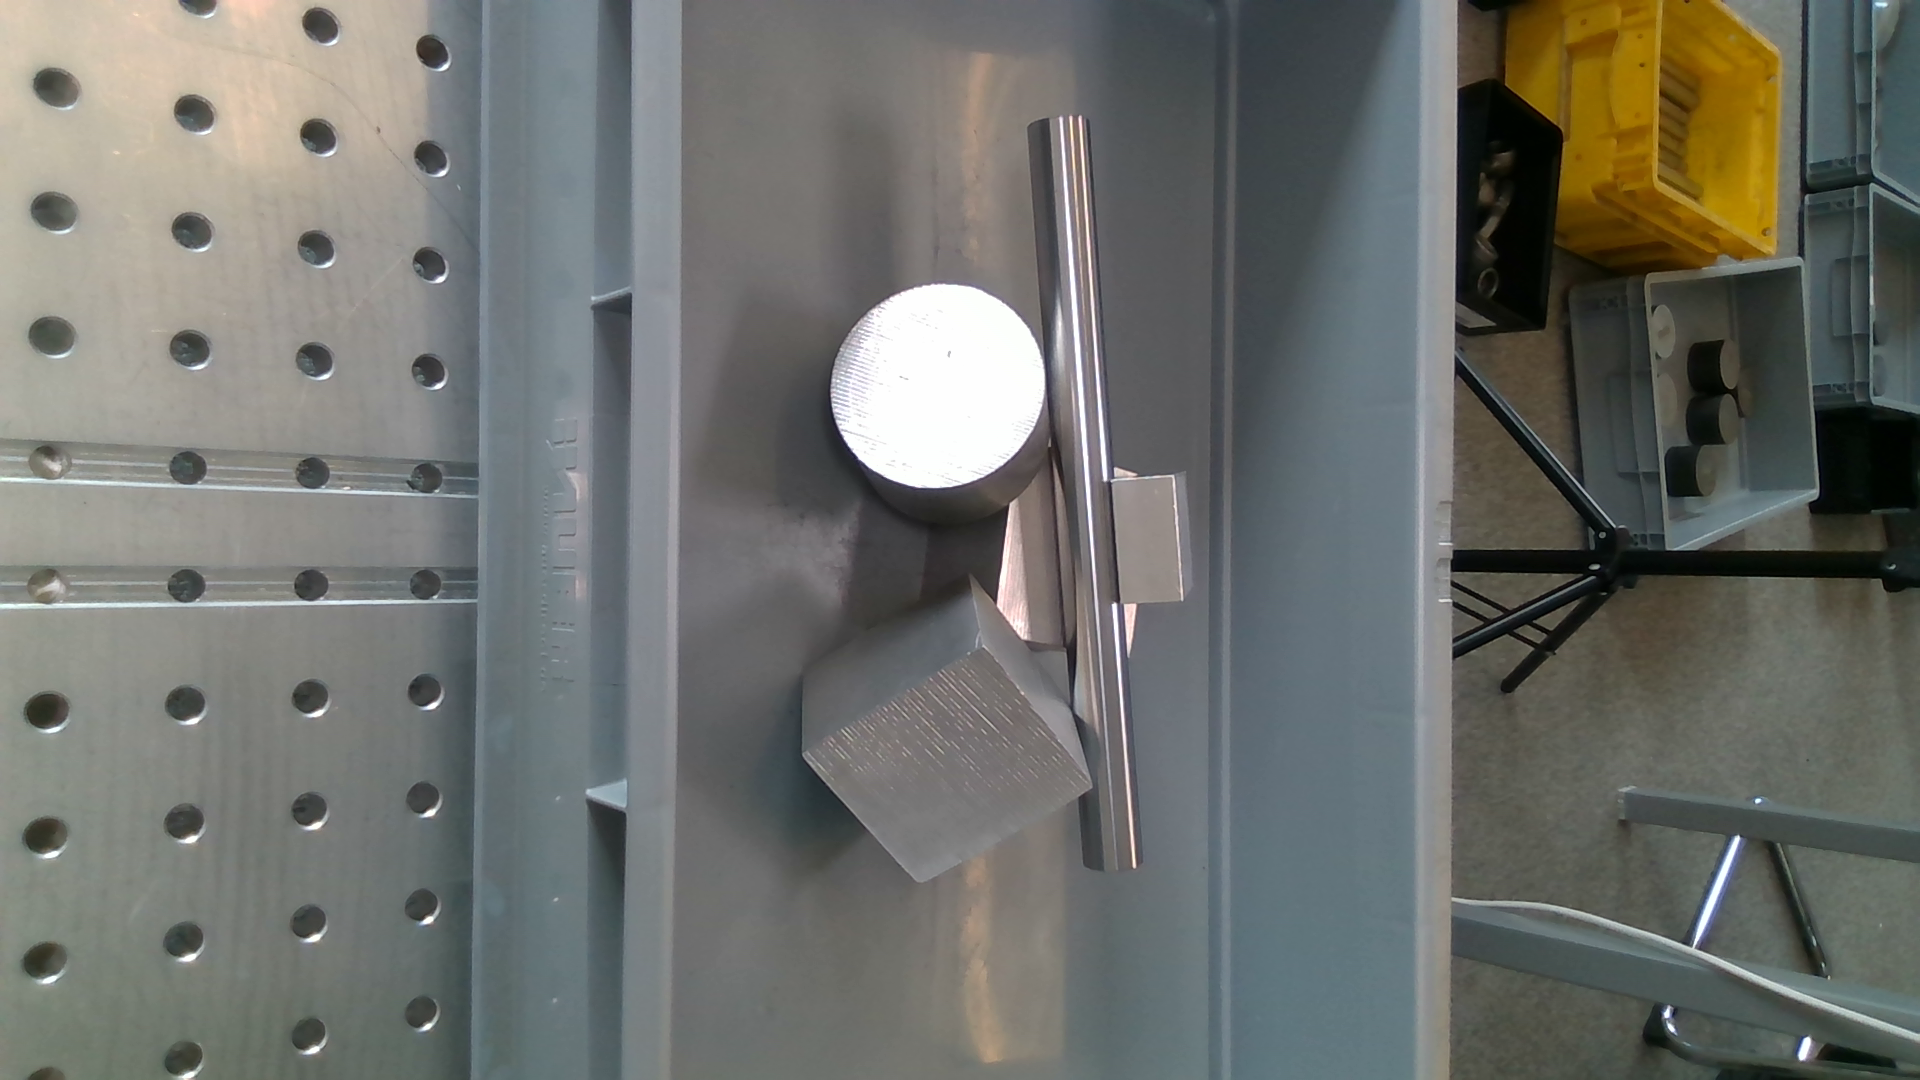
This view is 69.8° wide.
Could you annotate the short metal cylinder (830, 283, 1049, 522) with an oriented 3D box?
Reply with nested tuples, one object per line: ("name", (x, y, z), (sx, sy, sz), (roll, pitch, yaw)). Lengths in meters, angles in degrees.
("short metal cylinder", (-0.006, -0.052, 0.533), (0.050, 0.080, 0.080), (70, 35, -75))

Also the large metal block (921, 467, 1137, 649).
("large metal block", (0.033, 0.004, 0.594), (0.080, 0.050, 0.080), (14, 81, -39))

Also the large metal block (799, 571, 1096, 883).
("large metal block", (-0.006, 0.073, 0.533), (0.080, 0.050, 0.080), (-31, 118, 12))

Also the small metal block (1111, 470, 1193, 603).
("small metal block", (0.080, -0.003, 0.569), (0.050, 0.025, 0.050), (-18, 104, -75))

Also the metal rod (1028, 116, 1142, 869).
("metal rod", (0.051, -0.017, 0.560), (0.025, 0.025, 0.300), (-8, 95, -40))
